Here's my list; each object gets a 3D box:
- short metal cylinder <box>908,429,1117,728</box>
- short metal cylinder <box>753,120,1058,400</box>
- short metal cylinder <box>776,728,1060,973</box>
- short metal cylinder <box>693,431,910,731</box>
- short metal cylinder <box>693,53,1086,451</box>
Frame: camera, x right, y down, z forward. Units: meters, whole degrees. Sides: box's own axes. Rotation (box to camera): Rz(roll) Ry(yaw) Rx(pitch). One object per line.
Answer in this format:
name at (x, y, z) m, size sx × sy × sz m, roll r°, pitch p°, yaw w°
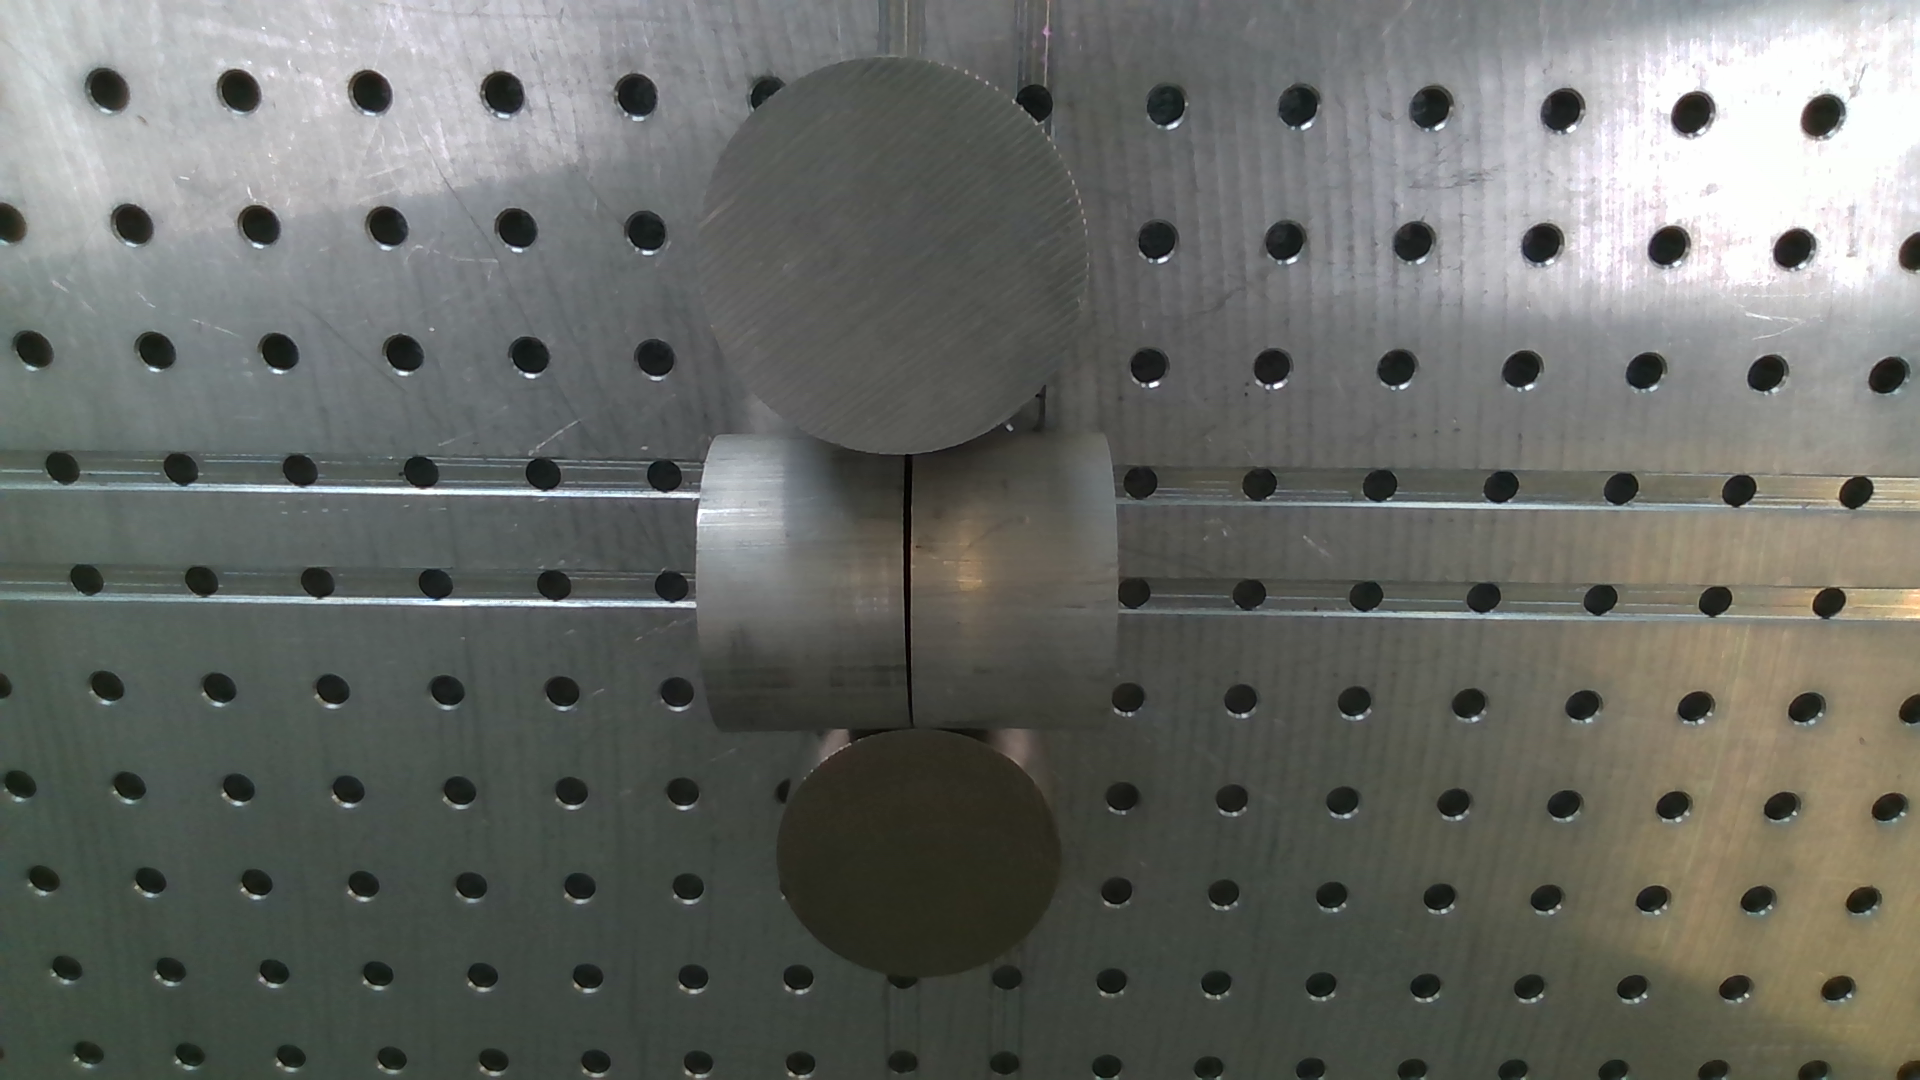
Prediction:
short metal cylinder at (0.013, 0.010, 0.371) m, size 0.050 × 0.080 × 0.080 m, roll 1°, pitch 110°, yaw 0°
short metal cylinder at (-0.011, -0.071, 0.356) m, size 0.080 × 0.050 × 0.080 m, roll 0°, pitch 110°, yaw 0°
short metal cylinder at (-0.012, 0.080, 0.411) m, size 0.080 × 0.050 × 0.080 m, roll 0°, pitch 110°, yaw 0°
short metal cylinder at (-0.039, 0.011, 0.370) m, size 0.050 × 0.080 × 0.080 m, roll -1°, pitch 110°, yaw 0°
short metal cylinder at (-0.014, -0.065, 0.304) m, size 0.080 × 0.050 × 0.080 m, roll 0°, pitch 110°, yaw 0°
